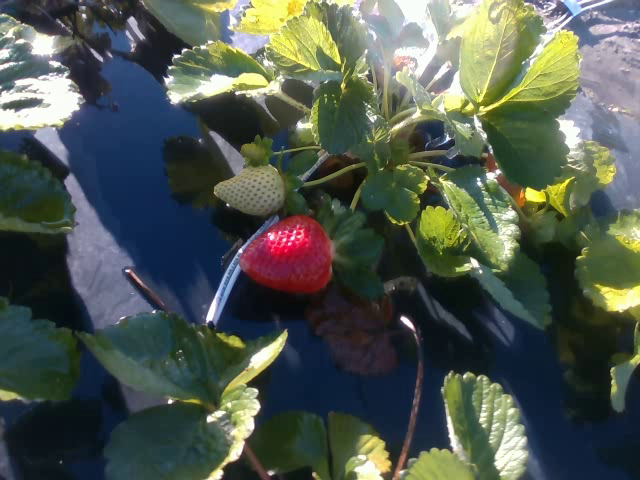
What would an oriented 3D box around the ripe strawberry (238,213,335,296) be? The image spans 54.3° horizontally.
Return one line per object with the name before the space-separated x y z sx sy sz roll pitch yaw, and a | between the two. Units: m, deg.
ripe strawberry | -0.014 0.009 0.370 0.080 0.063 0.040 -8 -2 -40
